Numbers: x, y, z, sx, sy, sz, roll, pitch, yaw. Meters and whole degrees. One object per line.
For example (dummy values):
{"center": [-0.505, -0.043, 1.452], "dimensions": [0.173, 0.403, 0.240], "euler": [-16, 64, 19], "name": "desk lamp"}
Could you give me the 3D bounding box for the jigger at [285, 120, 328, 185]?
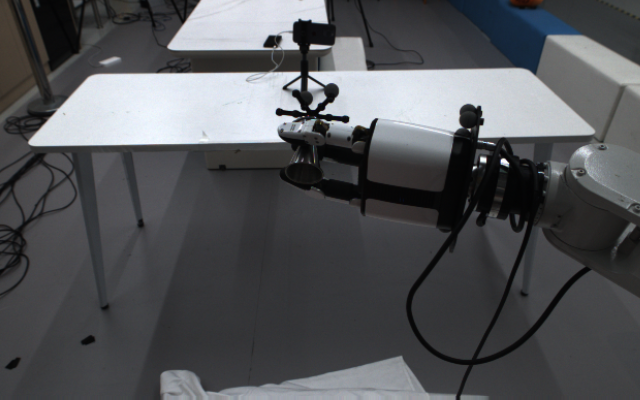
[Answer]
{"center": [-0.017, -0.059, 0.562], "dimensions": [0.043, 0.043, 0.071], "euler": [5, 61, 5], "name": "jigger"}
